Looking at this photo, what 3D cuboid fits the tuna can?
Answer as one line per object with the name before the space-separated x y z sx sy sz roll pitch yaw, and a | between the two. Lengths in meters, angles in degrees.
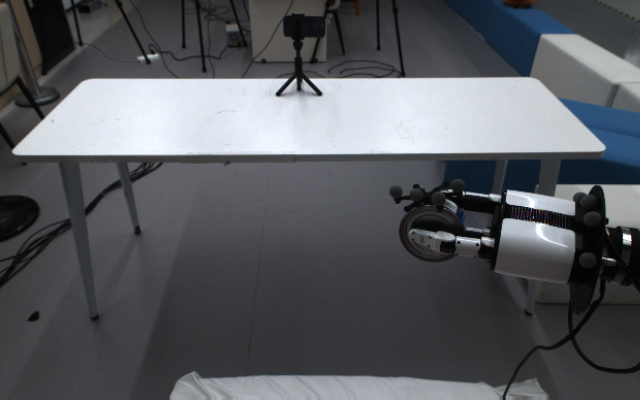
tuna can | 0.153 0.037 0.647 0.085 0.085 0.034 13 28 15
